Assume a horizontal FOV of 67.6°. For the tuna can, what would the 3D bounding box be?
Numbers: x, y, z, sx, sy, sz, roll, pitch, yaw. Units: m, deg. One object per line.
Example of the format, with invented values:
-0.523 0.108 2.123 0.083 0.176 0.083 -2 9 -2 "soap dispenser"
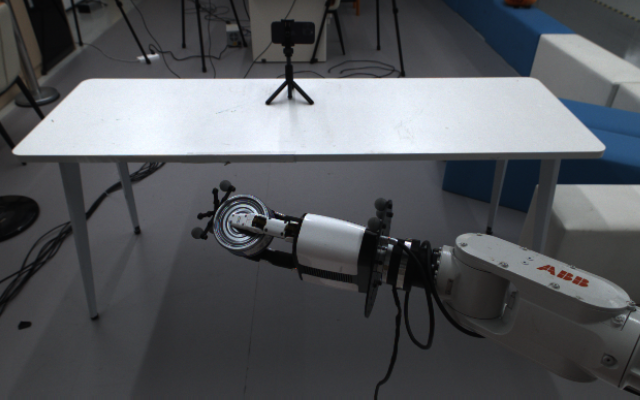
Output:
-0.106 0.034 0.688 0.085 0.034 0.085 -3 70 9 "tuna can"
